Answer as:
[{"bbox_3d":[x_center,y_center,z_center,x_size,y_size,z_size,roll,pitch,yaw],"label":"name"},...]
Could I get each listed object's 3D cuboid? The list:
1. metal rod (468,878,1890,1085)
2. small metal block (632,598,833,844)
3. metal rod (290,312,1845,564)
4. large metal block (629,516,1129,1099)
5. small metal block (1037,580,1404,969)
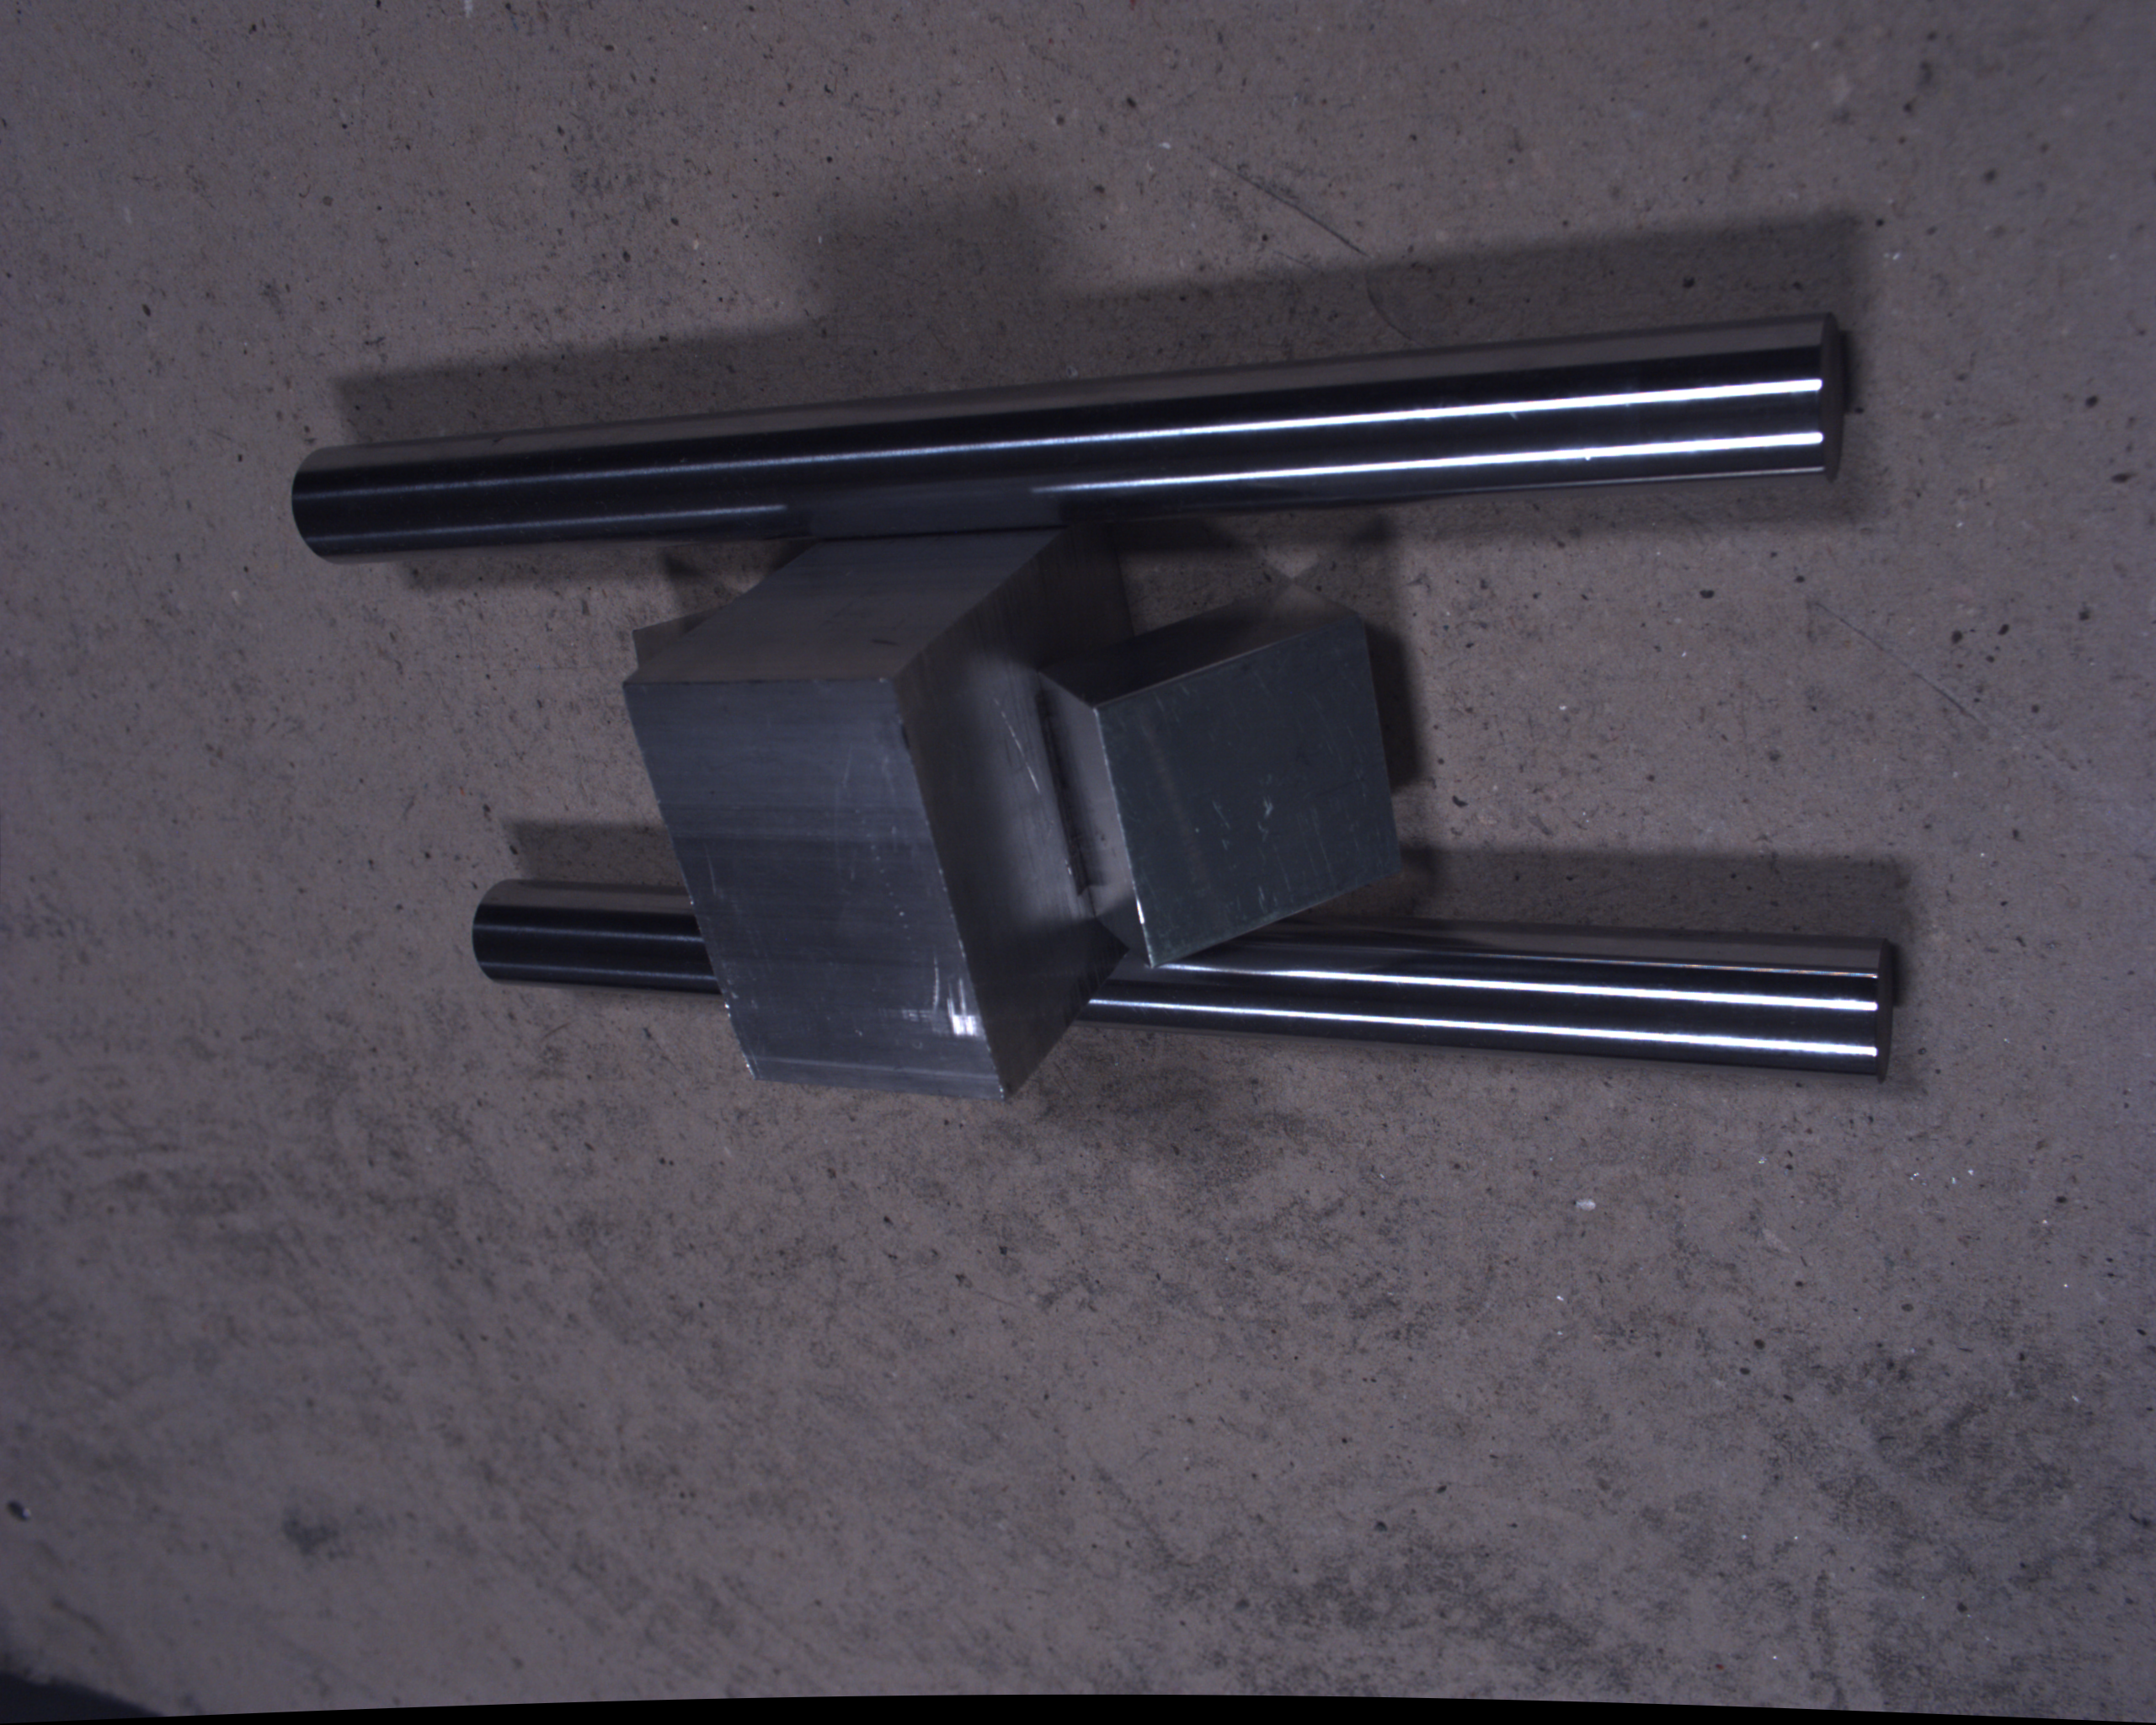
[{"bbox_3d":[0.001,0.021,0.419,0.301,0.025,0.025,2,119,27],"label":"metal rod"},{"bbox_3d":[-0.067,-0.020,0.412,0.025,0.050,0.050,-17,116,-8],"label":"small metal block"},{"bbox_3d":[-0.023,-0.072,0.374,0.301,0.025,0.025,2,119,27],"label":"metal rod"},{"bbox_3d":[-0.026,-0.014,0.379,0.050,0.080,0.079,1,119,27],"label":"large metal block"},{"bbox_3d":[0.026,-0.016,0.366,0.025,0.050,0.050,40,147,60],"label":"small metal block"}]
